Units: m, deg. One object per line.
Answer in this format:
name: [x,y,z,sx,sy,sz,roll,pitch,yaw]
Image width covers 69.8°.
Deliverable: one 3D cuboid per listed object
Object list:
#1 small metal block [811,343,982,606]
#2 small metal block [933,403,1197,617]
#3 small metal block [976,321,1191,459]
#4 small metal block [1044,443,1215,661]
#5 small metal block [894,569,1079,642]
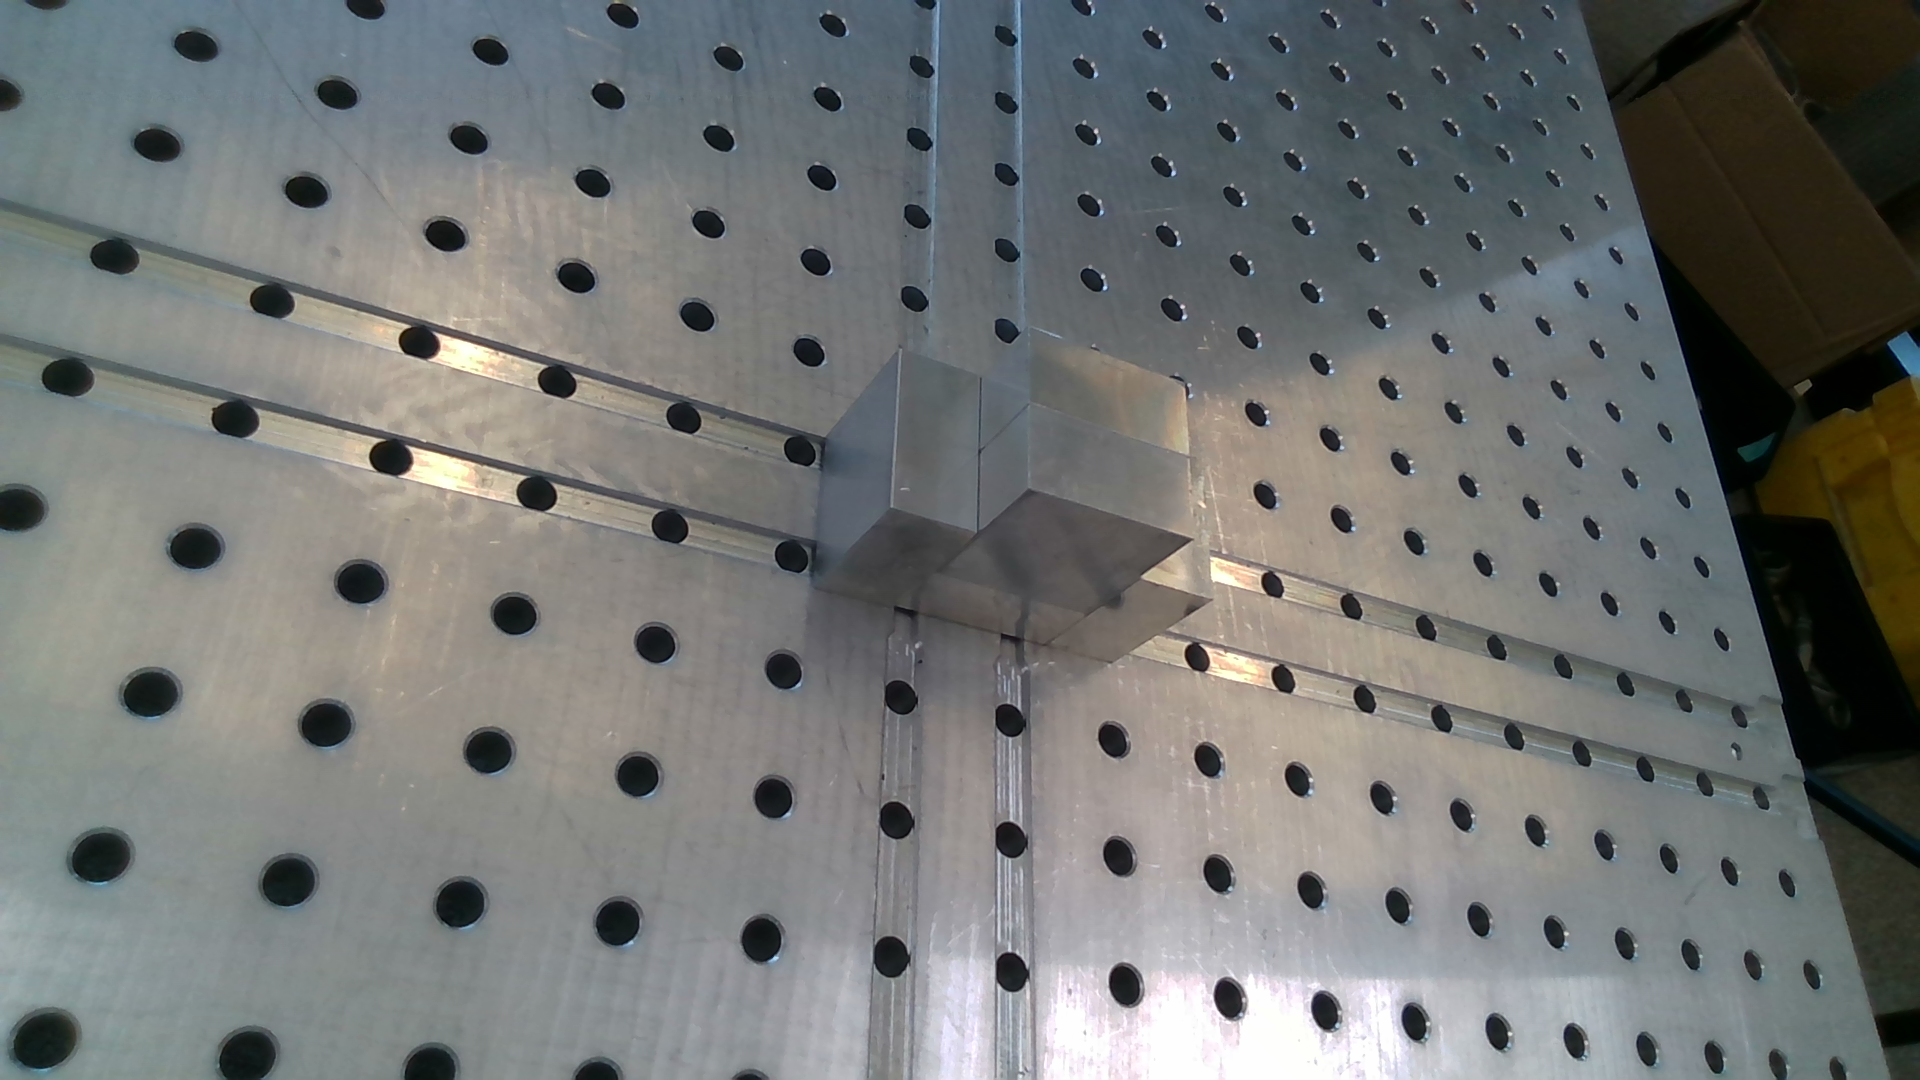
small metal block: [-0.018,-0.017,0.378,0.025,0.050,0.050,16,58,-24]
small metal block: [0.027,-0.006,0.368,0.050,0.050,0.025,16,57,-24]
small metal block: [0.028,-0.029,0.380,0.050,0.050,0.025,16,58,-24]
small metal block: [0.049,0.002,0.408,0.025,0.050,0.050,16,58,-24]
small metal block: [0.010,-0.003,0.403,0.050,0.025,0.050,16,57,-24]
